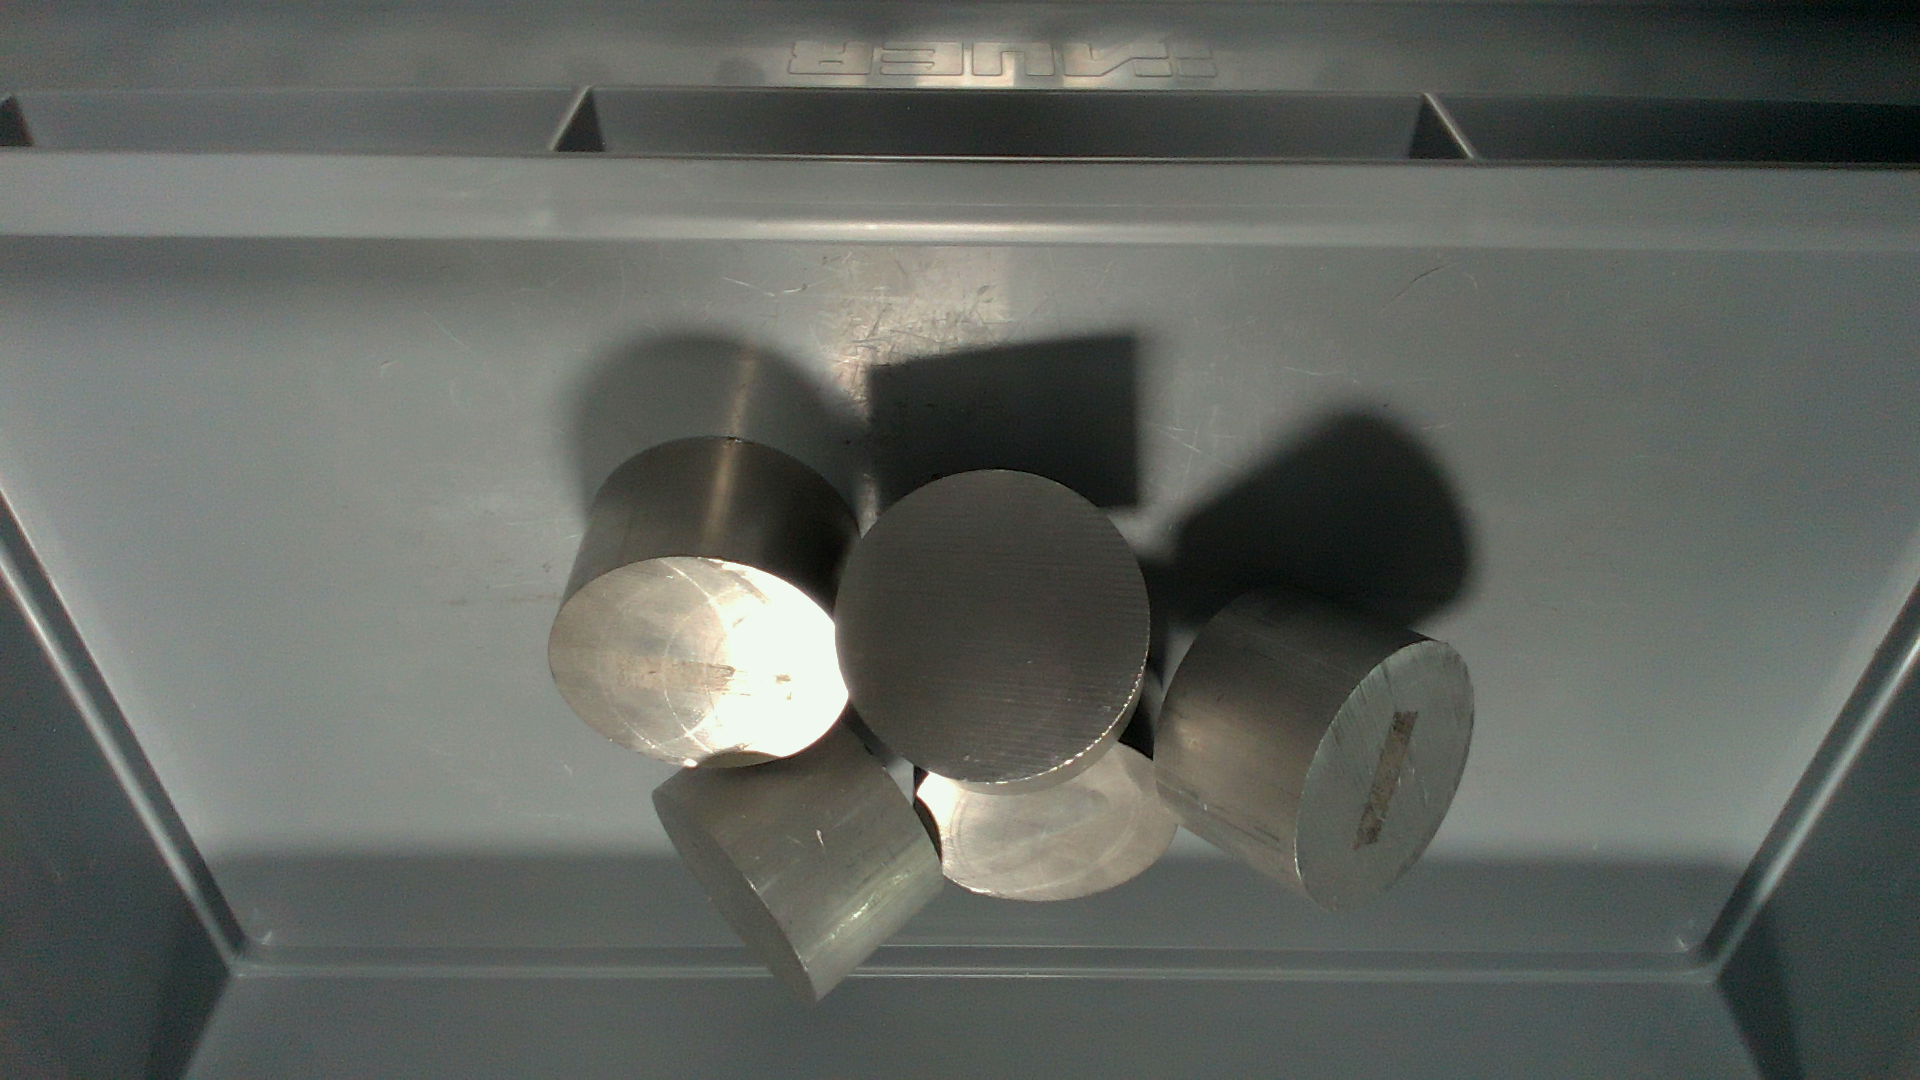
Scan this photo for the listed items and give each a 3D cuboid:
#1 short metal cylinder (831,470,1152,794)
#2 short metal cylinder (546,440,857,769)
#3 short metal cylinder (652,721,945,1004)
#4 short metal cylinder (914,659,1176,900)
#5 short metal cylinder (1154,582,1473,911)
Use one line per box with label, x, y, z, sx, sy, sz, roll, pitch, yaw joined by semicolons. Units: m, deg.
short metal cylinder;0.010;0.027;0.366;0.080;0.080;0.050;-6;165;5
short metal cylinder;-0.070;0.019;0.387;0.080;0.050;0.080;0;130;0
short metal cylinder;-0.050;0.094;0.423;0.050;0.080;0.080;-37;134;-25
short metal cylinder;0.026;0.068;0.430;0.080;0.050;0.080;0;130;0
short metal cylinder;0.102;0.058;0.395;0.080;0.050;0.080;-17;117;-36
